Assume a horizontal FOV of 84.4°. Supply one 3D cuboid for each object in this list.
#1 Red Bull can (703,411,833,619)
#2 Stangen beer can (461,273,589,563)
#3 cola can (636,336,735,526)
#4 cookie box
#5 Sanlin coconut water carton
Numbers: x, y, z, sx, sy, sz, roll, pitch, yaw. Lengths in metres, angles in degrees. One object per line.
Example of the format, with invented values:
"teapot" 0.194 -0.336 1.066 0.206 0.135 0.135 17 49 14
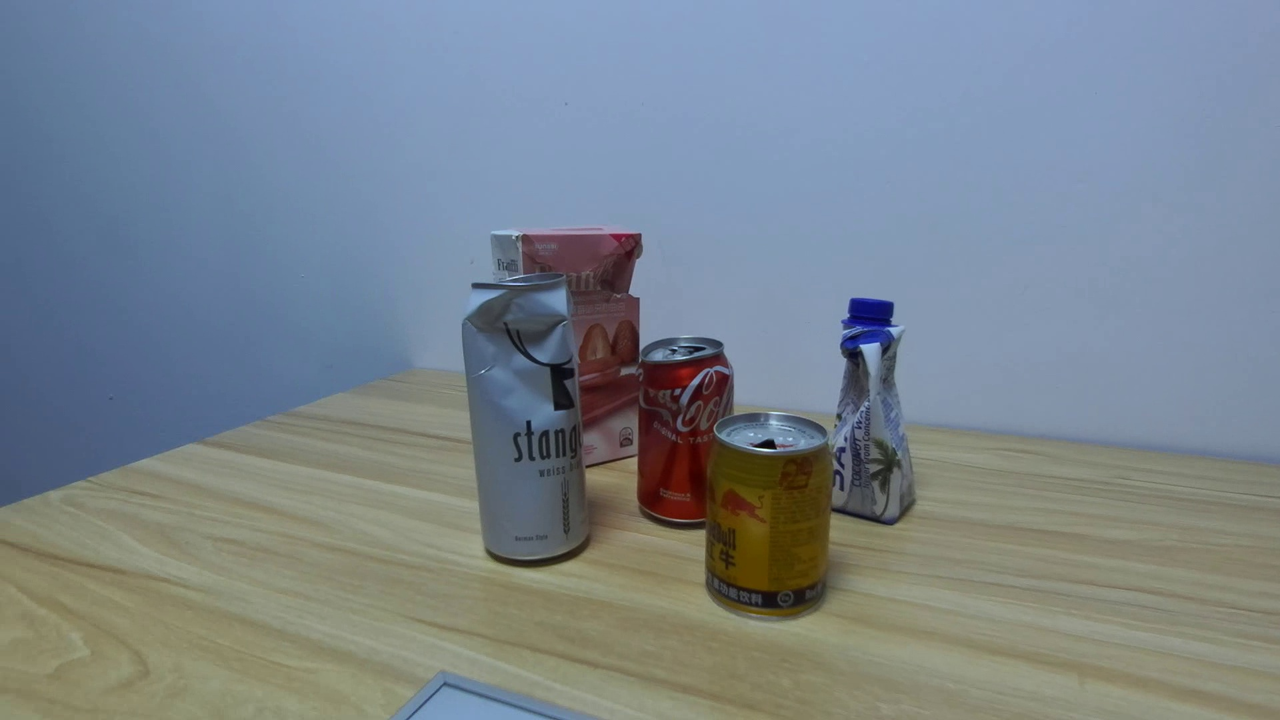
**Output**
"Red Bull can" 0.068 0.080 0.376 0.067 0.093 0.067 0 16 0
"Stangen beer can" -0.067 0.034 0.422 0.066 0.166 0.066 -4 13 -5
"cola can" 0.032 0.046 0.469 0.065 0.117 0.072 -5 14 -17
"cookie box" -0.053 -0.008 0.554 0.105 0.186 0.059 -7 16 -26
"Sanlin coconut water carton" 0.145 0.033 0.468 0.056 0.145 0.069 1 18 33
